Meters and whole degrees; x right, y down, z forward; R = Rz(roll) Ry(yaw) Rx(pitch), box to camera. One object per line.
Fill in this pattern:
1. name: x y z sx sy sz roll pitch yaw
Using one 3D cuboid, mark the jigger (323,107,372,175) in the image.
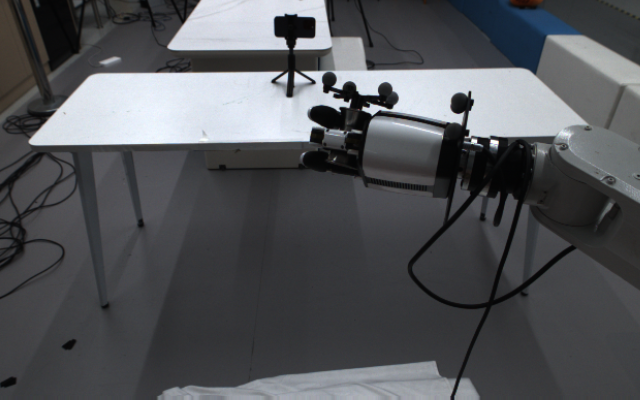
1. jigger: 0.037 -0.074 0.590 0.043 0.071 0.043 14 1 0
